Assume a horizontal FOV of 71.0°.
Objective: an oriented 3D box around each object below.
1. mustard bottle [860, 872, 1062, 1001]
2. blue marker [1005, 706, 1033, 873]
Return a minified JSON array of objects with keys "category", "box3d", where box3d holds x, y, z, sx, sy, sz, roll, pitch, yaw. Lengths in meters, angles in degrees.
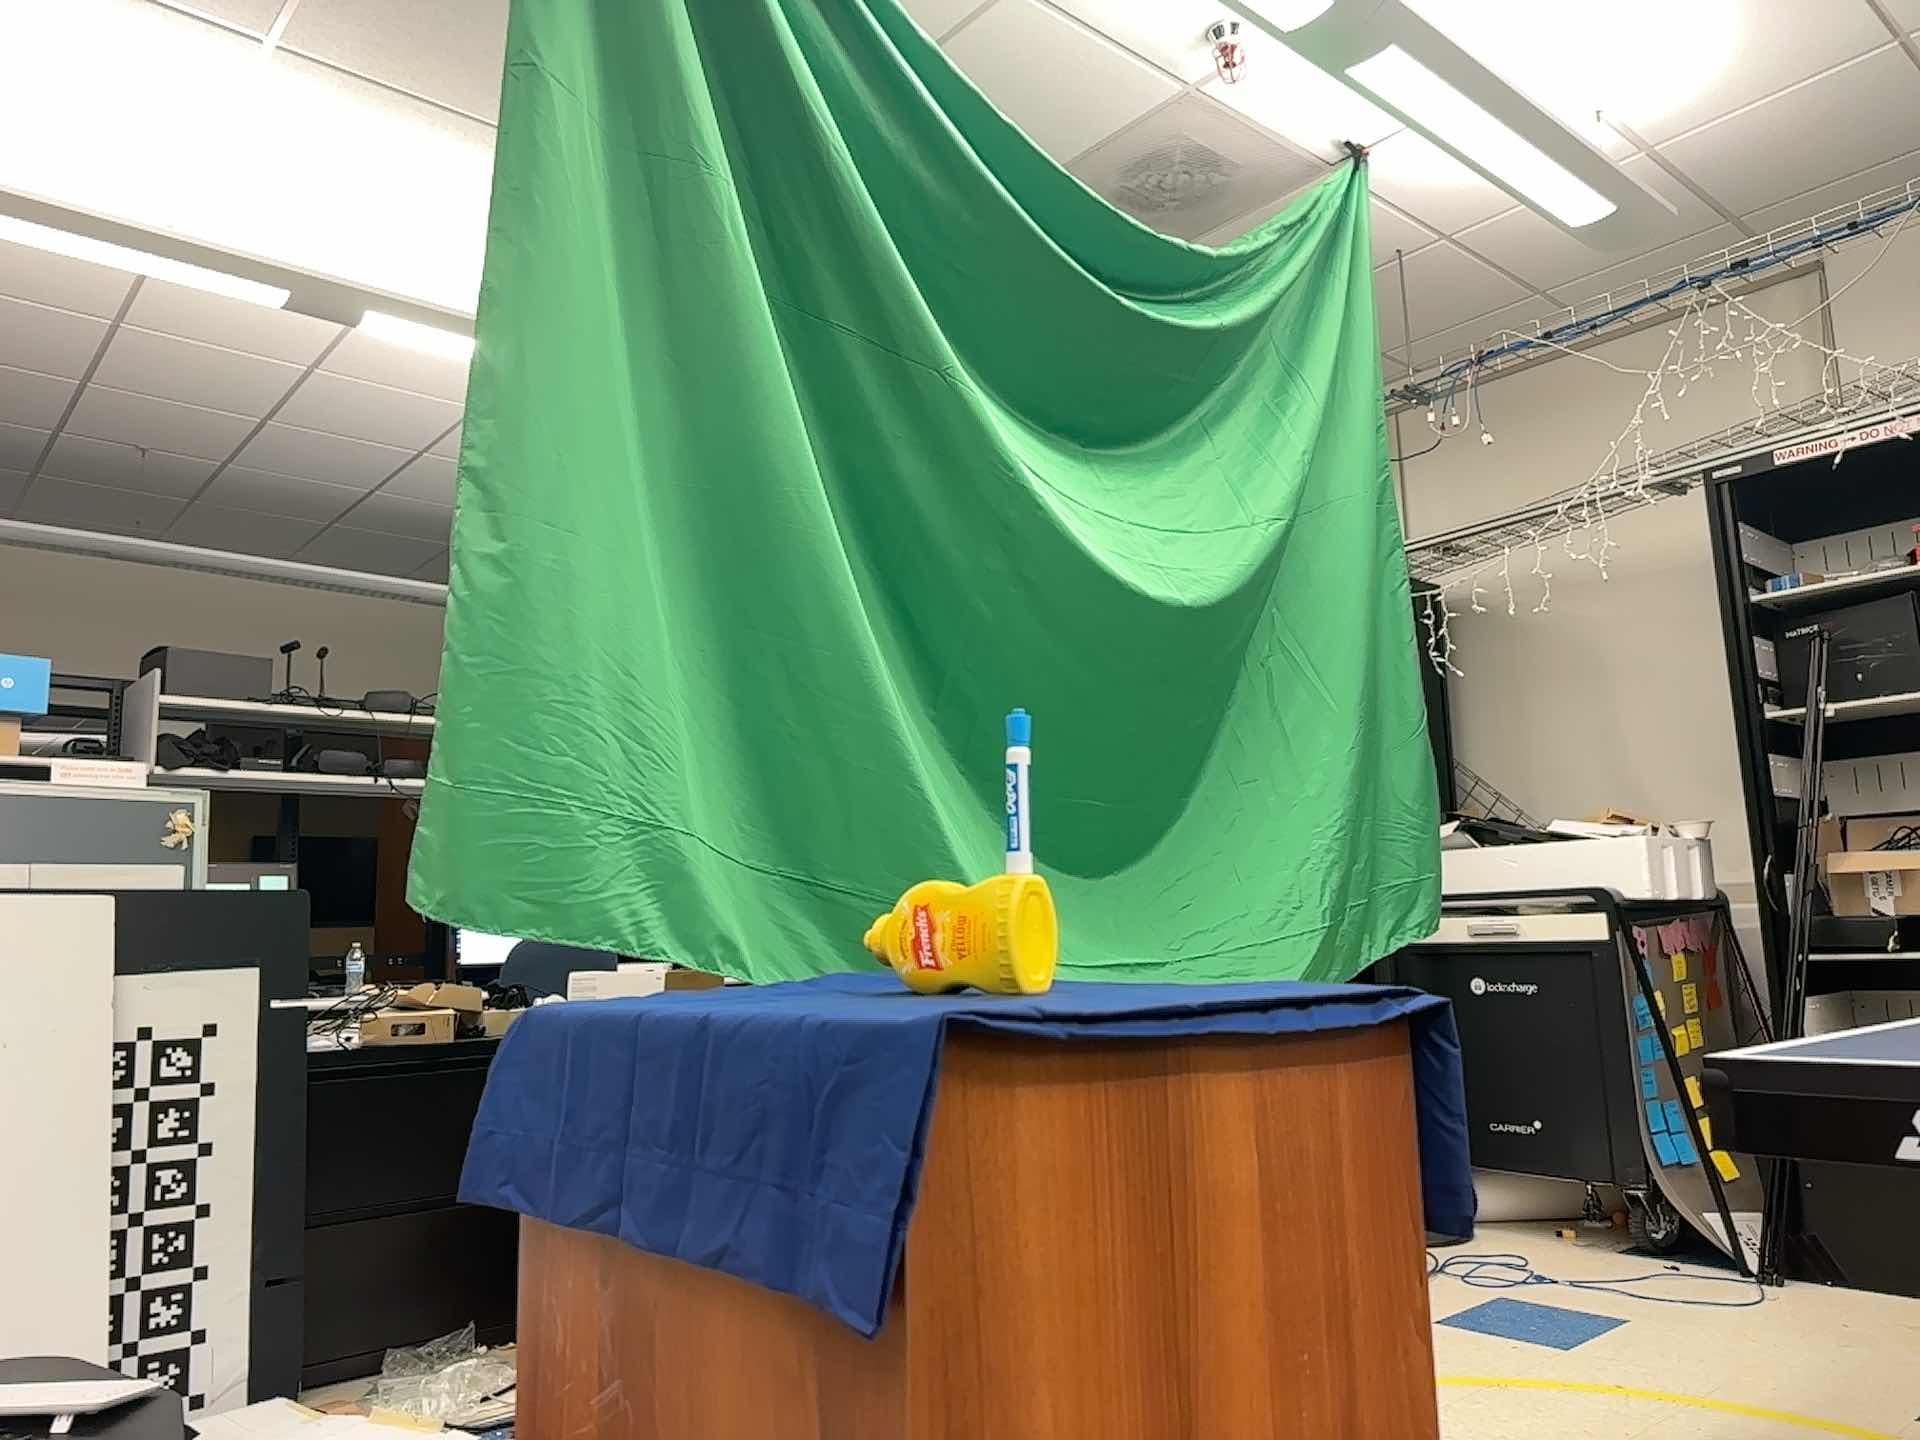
[{"category":"mustard bottle","box3d":[-0.009,0.164,1.016,0.184,0.092,0.054,-9,-5,43]},{"category":"blue marker","box3d":[0.043,0.050,0.980,0.020,0.121,0.020,0,-10,0]}]
